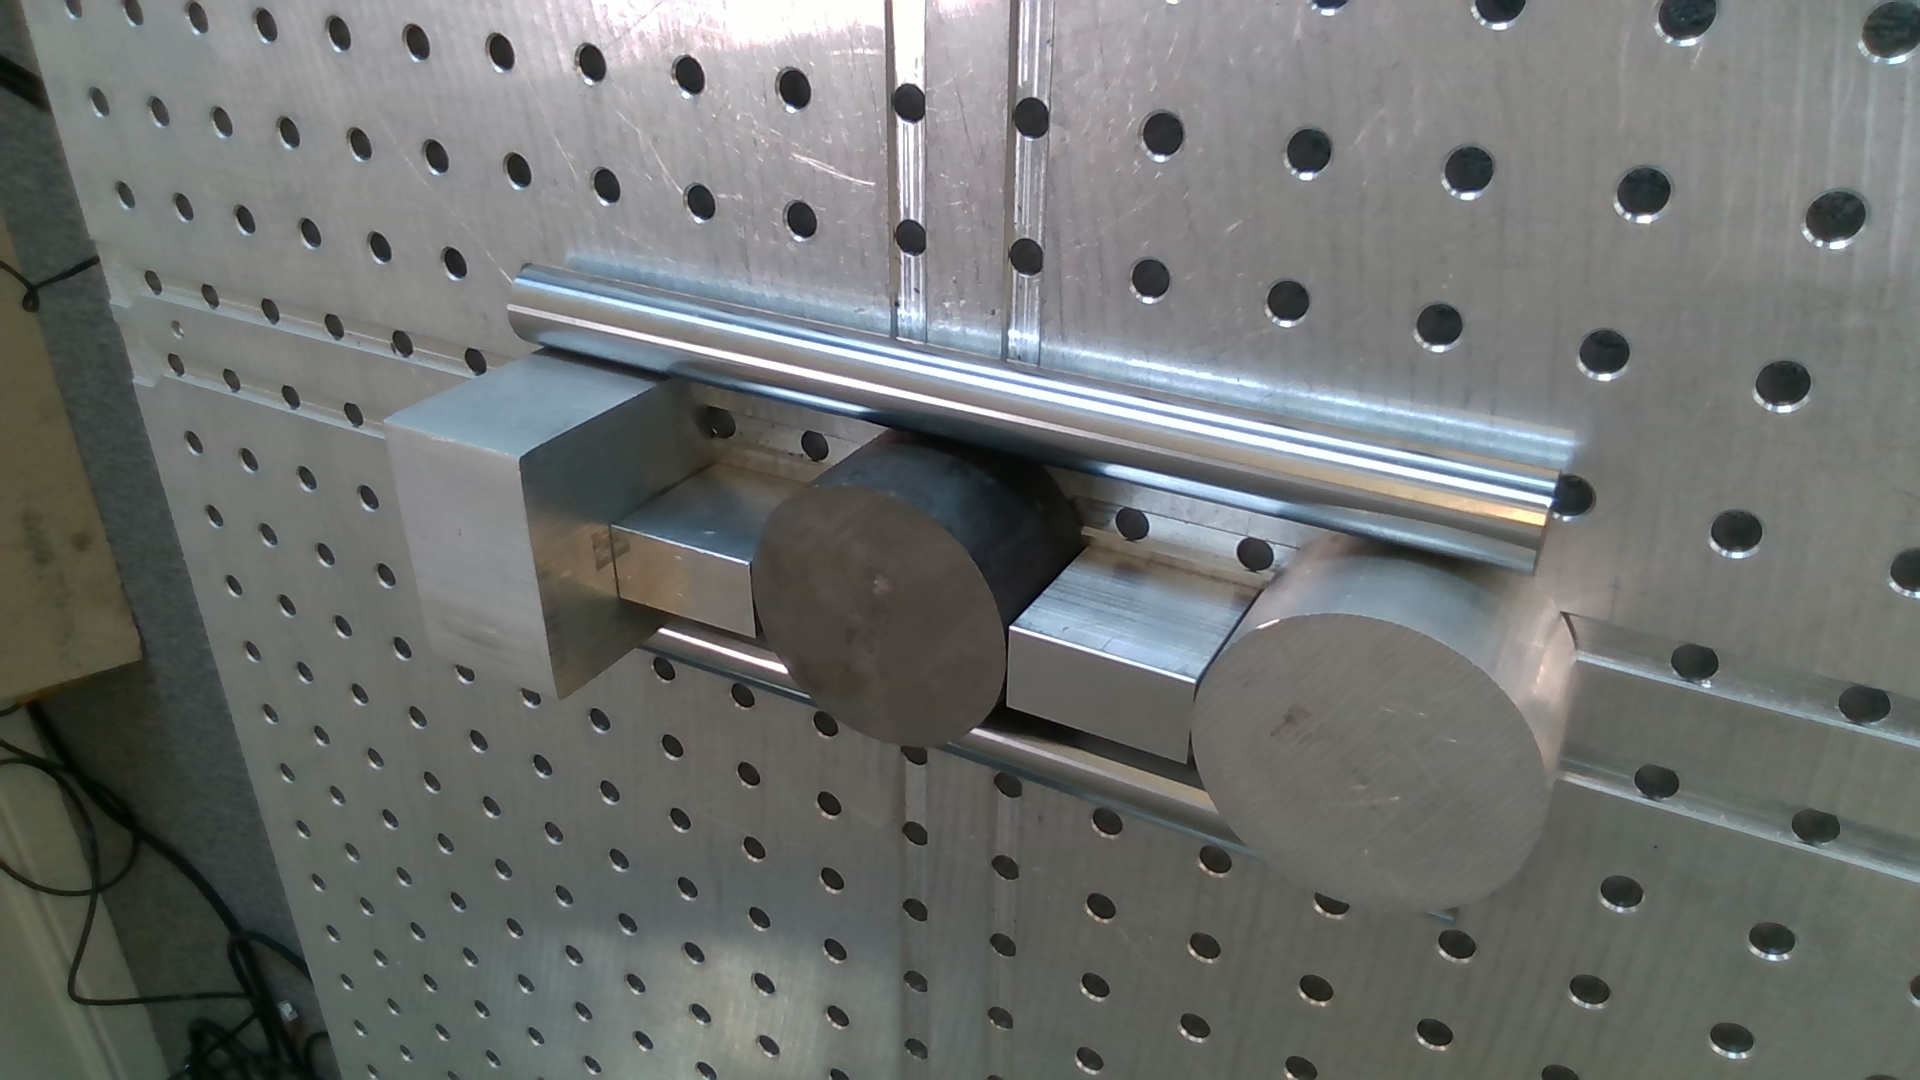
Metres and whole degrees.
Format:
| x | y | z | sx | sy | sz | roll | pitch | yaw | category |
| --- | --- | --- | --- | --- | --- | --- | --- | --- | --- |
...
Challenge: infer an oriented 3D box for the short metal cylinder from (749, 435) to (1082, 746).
| x | y | z | sx | sy | sz | roll | pitch | yaw | category |
| --- | --- | --- | --- | --- | --- | --- | --- | --- | --- |
| -0.012 | 0.010 | 0.389 | 0.080 | 0.050 | 0.080 | 15 | 122 | 25 | short metal cylinder |

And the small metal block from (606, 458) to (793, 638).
| x | y | z | sx | sy | sz | roll | pitch | yaw | category |
| --- | --- | --- | --- | --- | --- | --- | --- | --- | --- |
| -0.070 | 0.001 | 0.418 | 0.050 | 0.050 | 0.025 | 14 | 122 | 25 | small metal block |

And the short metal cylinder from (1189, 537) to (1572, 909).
| x | y | z | sx | sy | sz | roll | pitch | yaw | category |
| --- | --- | --- | --- | --- | --- | --- | --- | --- | --- |
| 0.103 | 0.041 | 0.335 | 0.080 | 0.050 | 0.080 | 15 | 122 | 25 | short metal cylinder |

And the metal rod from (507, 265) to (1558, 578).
| x | y | z | sx | sy | sz | roll | pitch | yaw | category |
| --- | --- | --- | --- | --- | --- | --- | --- | --- | --- |
| -0.001 | -0.039 | 0.370 | 0.300 | 0.025 | 0.025 | 15 | 122 | 24 | metal rod |

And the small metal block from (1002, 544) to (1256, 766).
| x | y | z | sx | sy | sz | roll | pitch | yaw | category |
| --- | --- | --- | --- | --- | --- | --- | --- | --- | --- |
| 0.045 | 0.028 | 0.362 | 0.050 | 0.050 | 0.025 | 15 | 122 | 24 | small metal block |

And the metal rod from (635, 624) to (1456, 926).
| x | y | z | sx | sy | sz | roll | pitch | yaw | category |
| --- | --- | --- | --- | --- | --- | --- | --- | --- | --- |
| -0.001 | 0.053 | 0.421 | 0.300 | 0.025 | 0.025 | 15 | 122 | 24 | metal rod |

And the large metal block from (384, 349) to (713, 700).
| x | y | z | sx | sy | sz | roll | pitch | yaw | category |
| --- | --- | --- | --- | --- | --- | --- | --- | --- | --- |
| -0.120 | -0.011 | 0.425 | 0.050 | 0.080 | 0.080 | 15 | 122 | 24 | large metal block |
